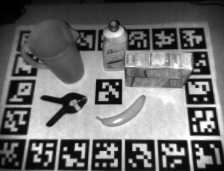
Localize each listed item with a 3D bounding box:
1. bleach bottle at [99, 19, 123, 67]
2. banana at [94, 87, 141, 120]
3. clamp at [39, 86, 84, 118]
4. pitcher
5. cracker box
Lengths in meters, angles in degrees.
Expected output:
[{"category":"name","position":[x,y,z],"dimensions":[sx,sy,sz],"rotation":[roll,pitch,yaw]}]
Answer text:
[{"category":"bleach bottle","position":[-0.011,-0.152,0.762],"dimensions":[0.102,0.252,0.067],"rotation":[0,68,5]},{"category":"banana","position":[0.033,0.072,0.793],"dimensions":[0.198,0.039,0.073],"rotation":[-31,69,-8]},{"category":"clamp","position":[-0.185,0.045,0.809],"dimensions":[0.165,0.037,0.121],"rotation":[-14,67,-4]},{"category":"pitcher","position":[-0.201,-0.124,0.742],"dimensions":[0.189,0.244,0.132],"rotation":[-16,67,-5]},{"category":"cracker box","position":[0.142,-0.071,0.751],"dimensions":[0.213,0.165,0.072],"rotation":[1,66,7]}]
